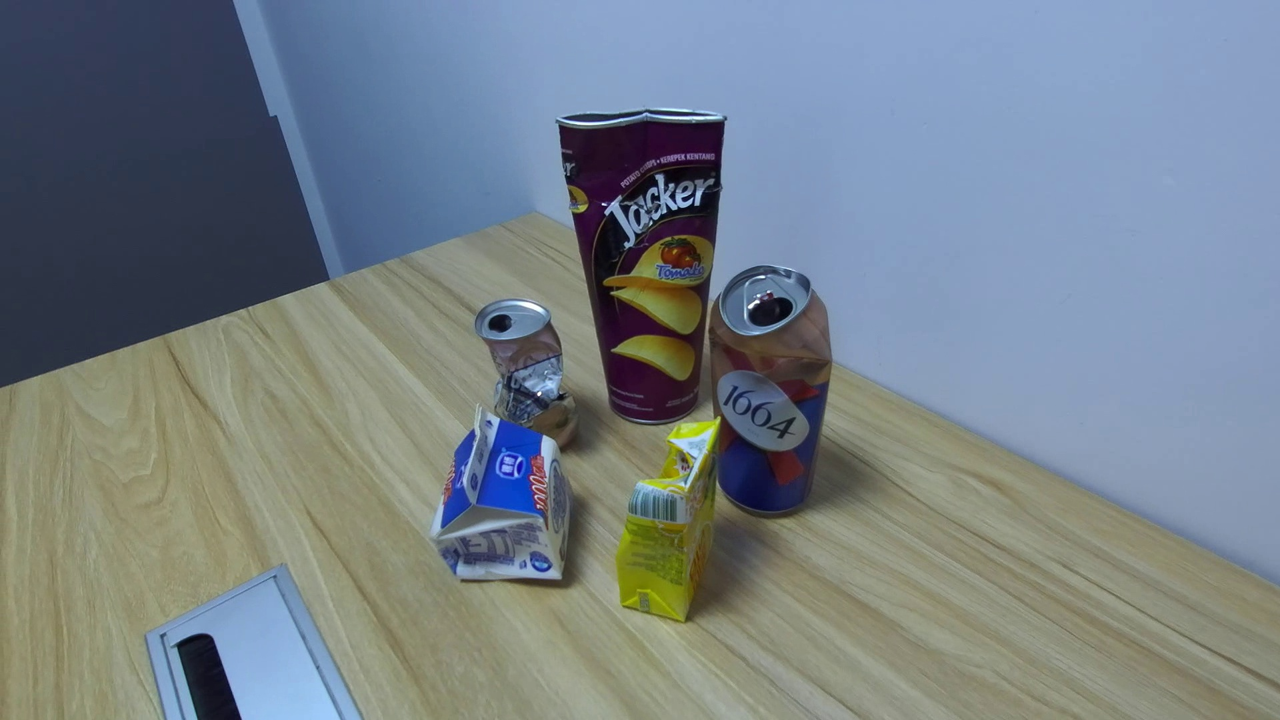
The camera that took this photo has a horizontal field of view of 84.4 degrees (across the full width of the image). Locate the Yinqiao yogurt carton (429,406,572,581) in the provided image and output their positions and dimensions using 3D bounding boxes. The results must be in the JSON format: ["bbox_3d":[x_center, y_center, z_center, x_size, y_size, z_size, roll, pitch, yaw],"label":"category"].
[{"bbox_3d":[-0.092,0.085,0.443,0.080,0.097,0.074,-10,35,6],"label":"Yinqiao yogurt carton"}]

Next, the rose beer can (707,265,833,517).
[{"bbox_3d":[0.082,0.023,0.454,0.069,0.168,0.070,-5,38,4],"label":"rose beer can"}]

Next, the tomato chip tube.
[{"bbox_3d":[0.005,-0.064,0.529,0.078,0.236,0.089,-26,42,-28],"label":"tomato chip tube"}]

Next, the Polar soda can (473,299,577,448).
[{"bbox_3d":[-0.084,0.015,0.533,0.074,0.114,0.070,1,39,14],"label":"Polar soda can"}]

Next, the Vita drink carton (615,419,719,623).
[{"bbox_3d":[0.016,0.089,0.412,0.046,0.110,0.071,10,36,17],"label":"Vita drink carton"}]
